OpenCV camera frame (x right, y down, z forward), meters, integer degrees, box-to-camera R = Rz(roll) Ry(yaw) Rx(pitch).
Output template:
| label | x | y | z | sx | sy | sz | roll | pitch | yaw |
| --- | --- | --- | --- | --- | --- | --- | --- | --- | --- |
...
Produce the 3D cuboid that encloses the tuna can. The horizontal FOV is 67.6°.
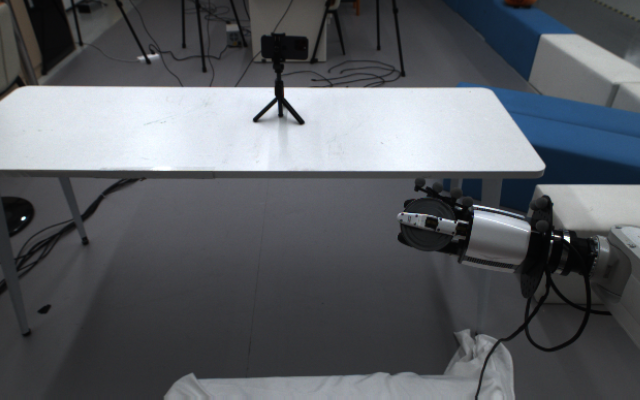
| label | x | y | z | sx | sy | sz | roll | pitch | yaw |
| --- | --- | --- | --- | --- | --- | --- | --- | --- | --- |
| tuna can | 0.172 | 0.038 | 0.765 | 0.085 | 0.085 | 0.034 | 14 | -6 | 16 |
